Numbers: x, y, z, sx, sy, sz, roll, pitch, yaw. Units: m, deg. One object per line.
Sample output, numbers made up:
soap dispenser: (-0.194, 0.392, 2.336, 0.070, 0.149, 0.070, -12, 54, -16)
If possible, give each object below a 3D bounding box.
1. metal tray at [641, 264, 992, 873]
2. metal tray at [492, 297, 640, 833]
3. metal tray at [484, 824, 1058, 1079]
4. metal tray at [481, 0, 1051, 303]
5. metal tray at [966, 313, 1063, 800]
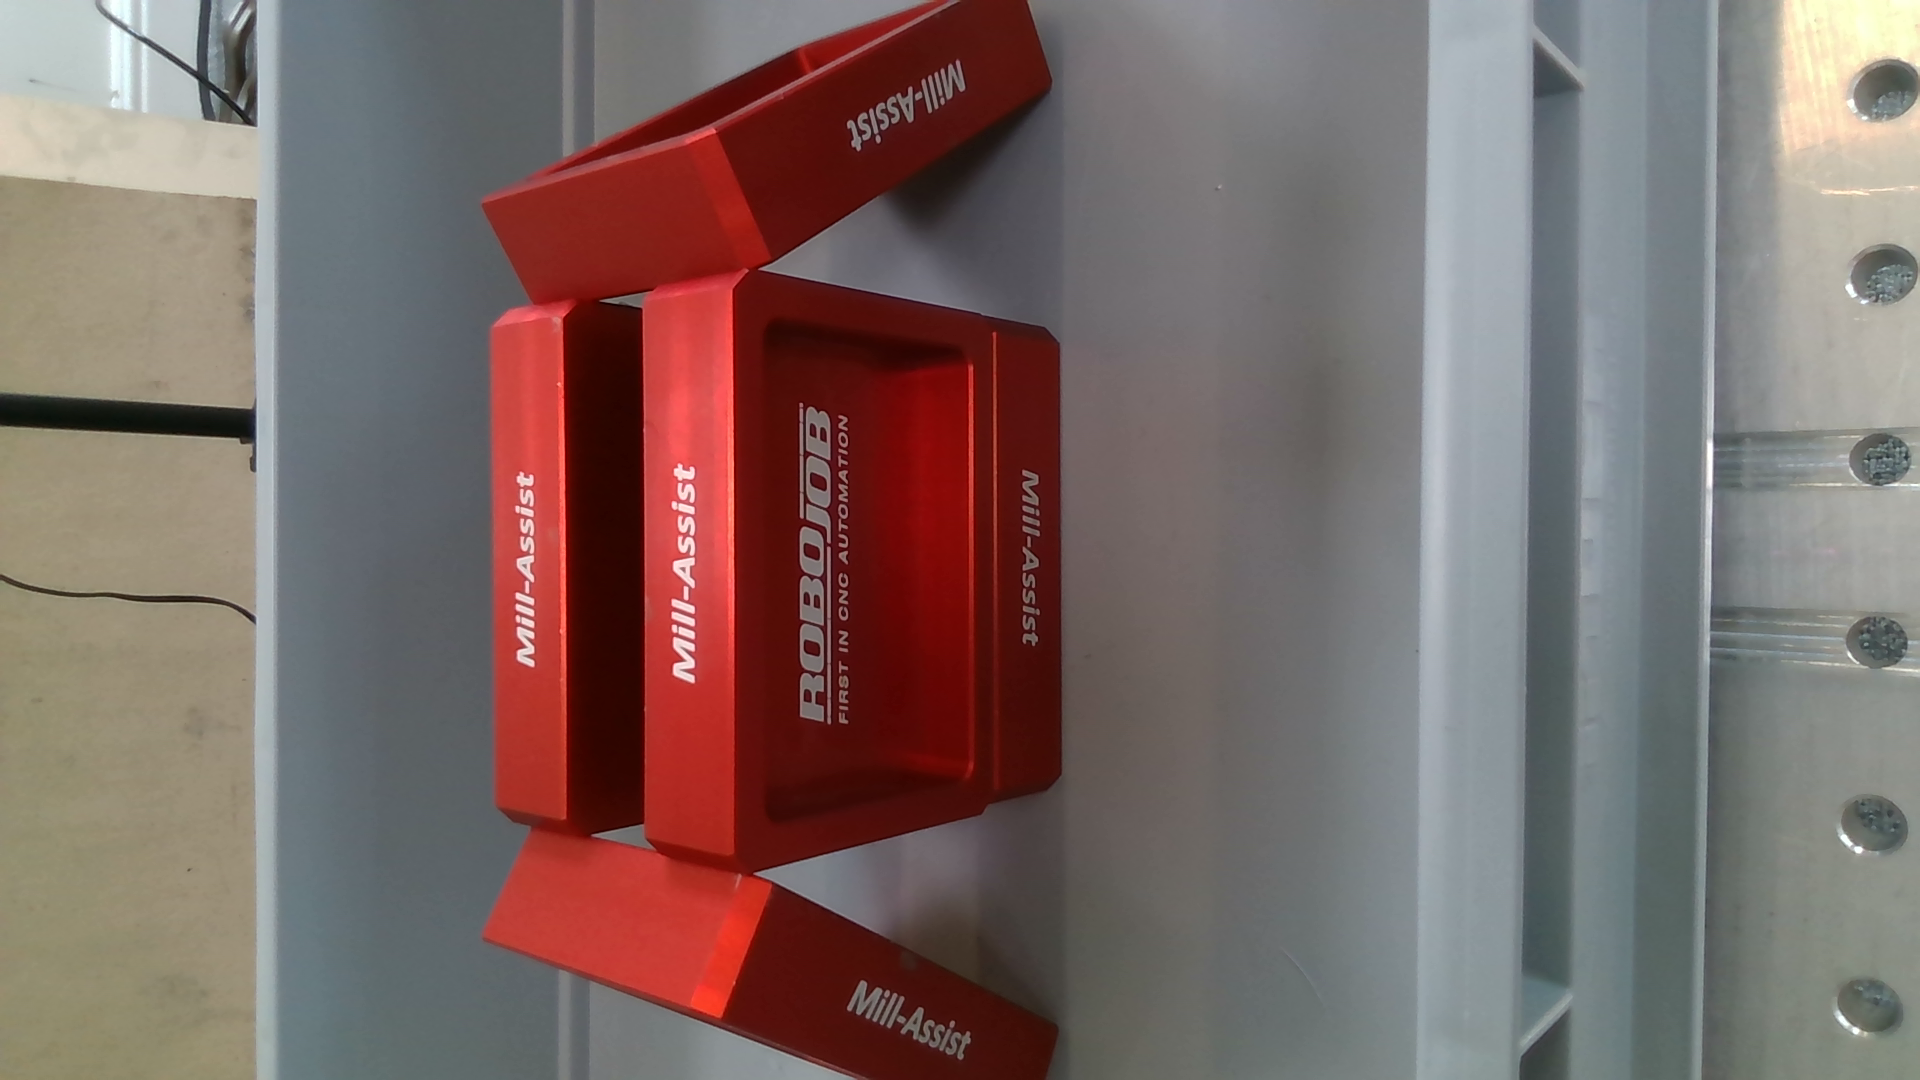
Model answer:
metal tray: (-0.031, 0.006, 0.333, 0.030, 0.090, 0.130, 0, 91, 40)
metal tray: (-0.078, 0.006, 0.373, 0.030, 0.090, 0.130, 0, 91, 40)
metal tray: (-0.046, 0.116, 0.362, 0.090, 0.130, 0.030, 0, 61, 40)
metal tray: (-0.047, -0.106, 0.362, 0.090, 0.130, 0.030, 1, 123, 41)
metal tray: (-0.016, 0.005, 0.400, 0.090, 0.030, 0.130, 0, 91, 40)
